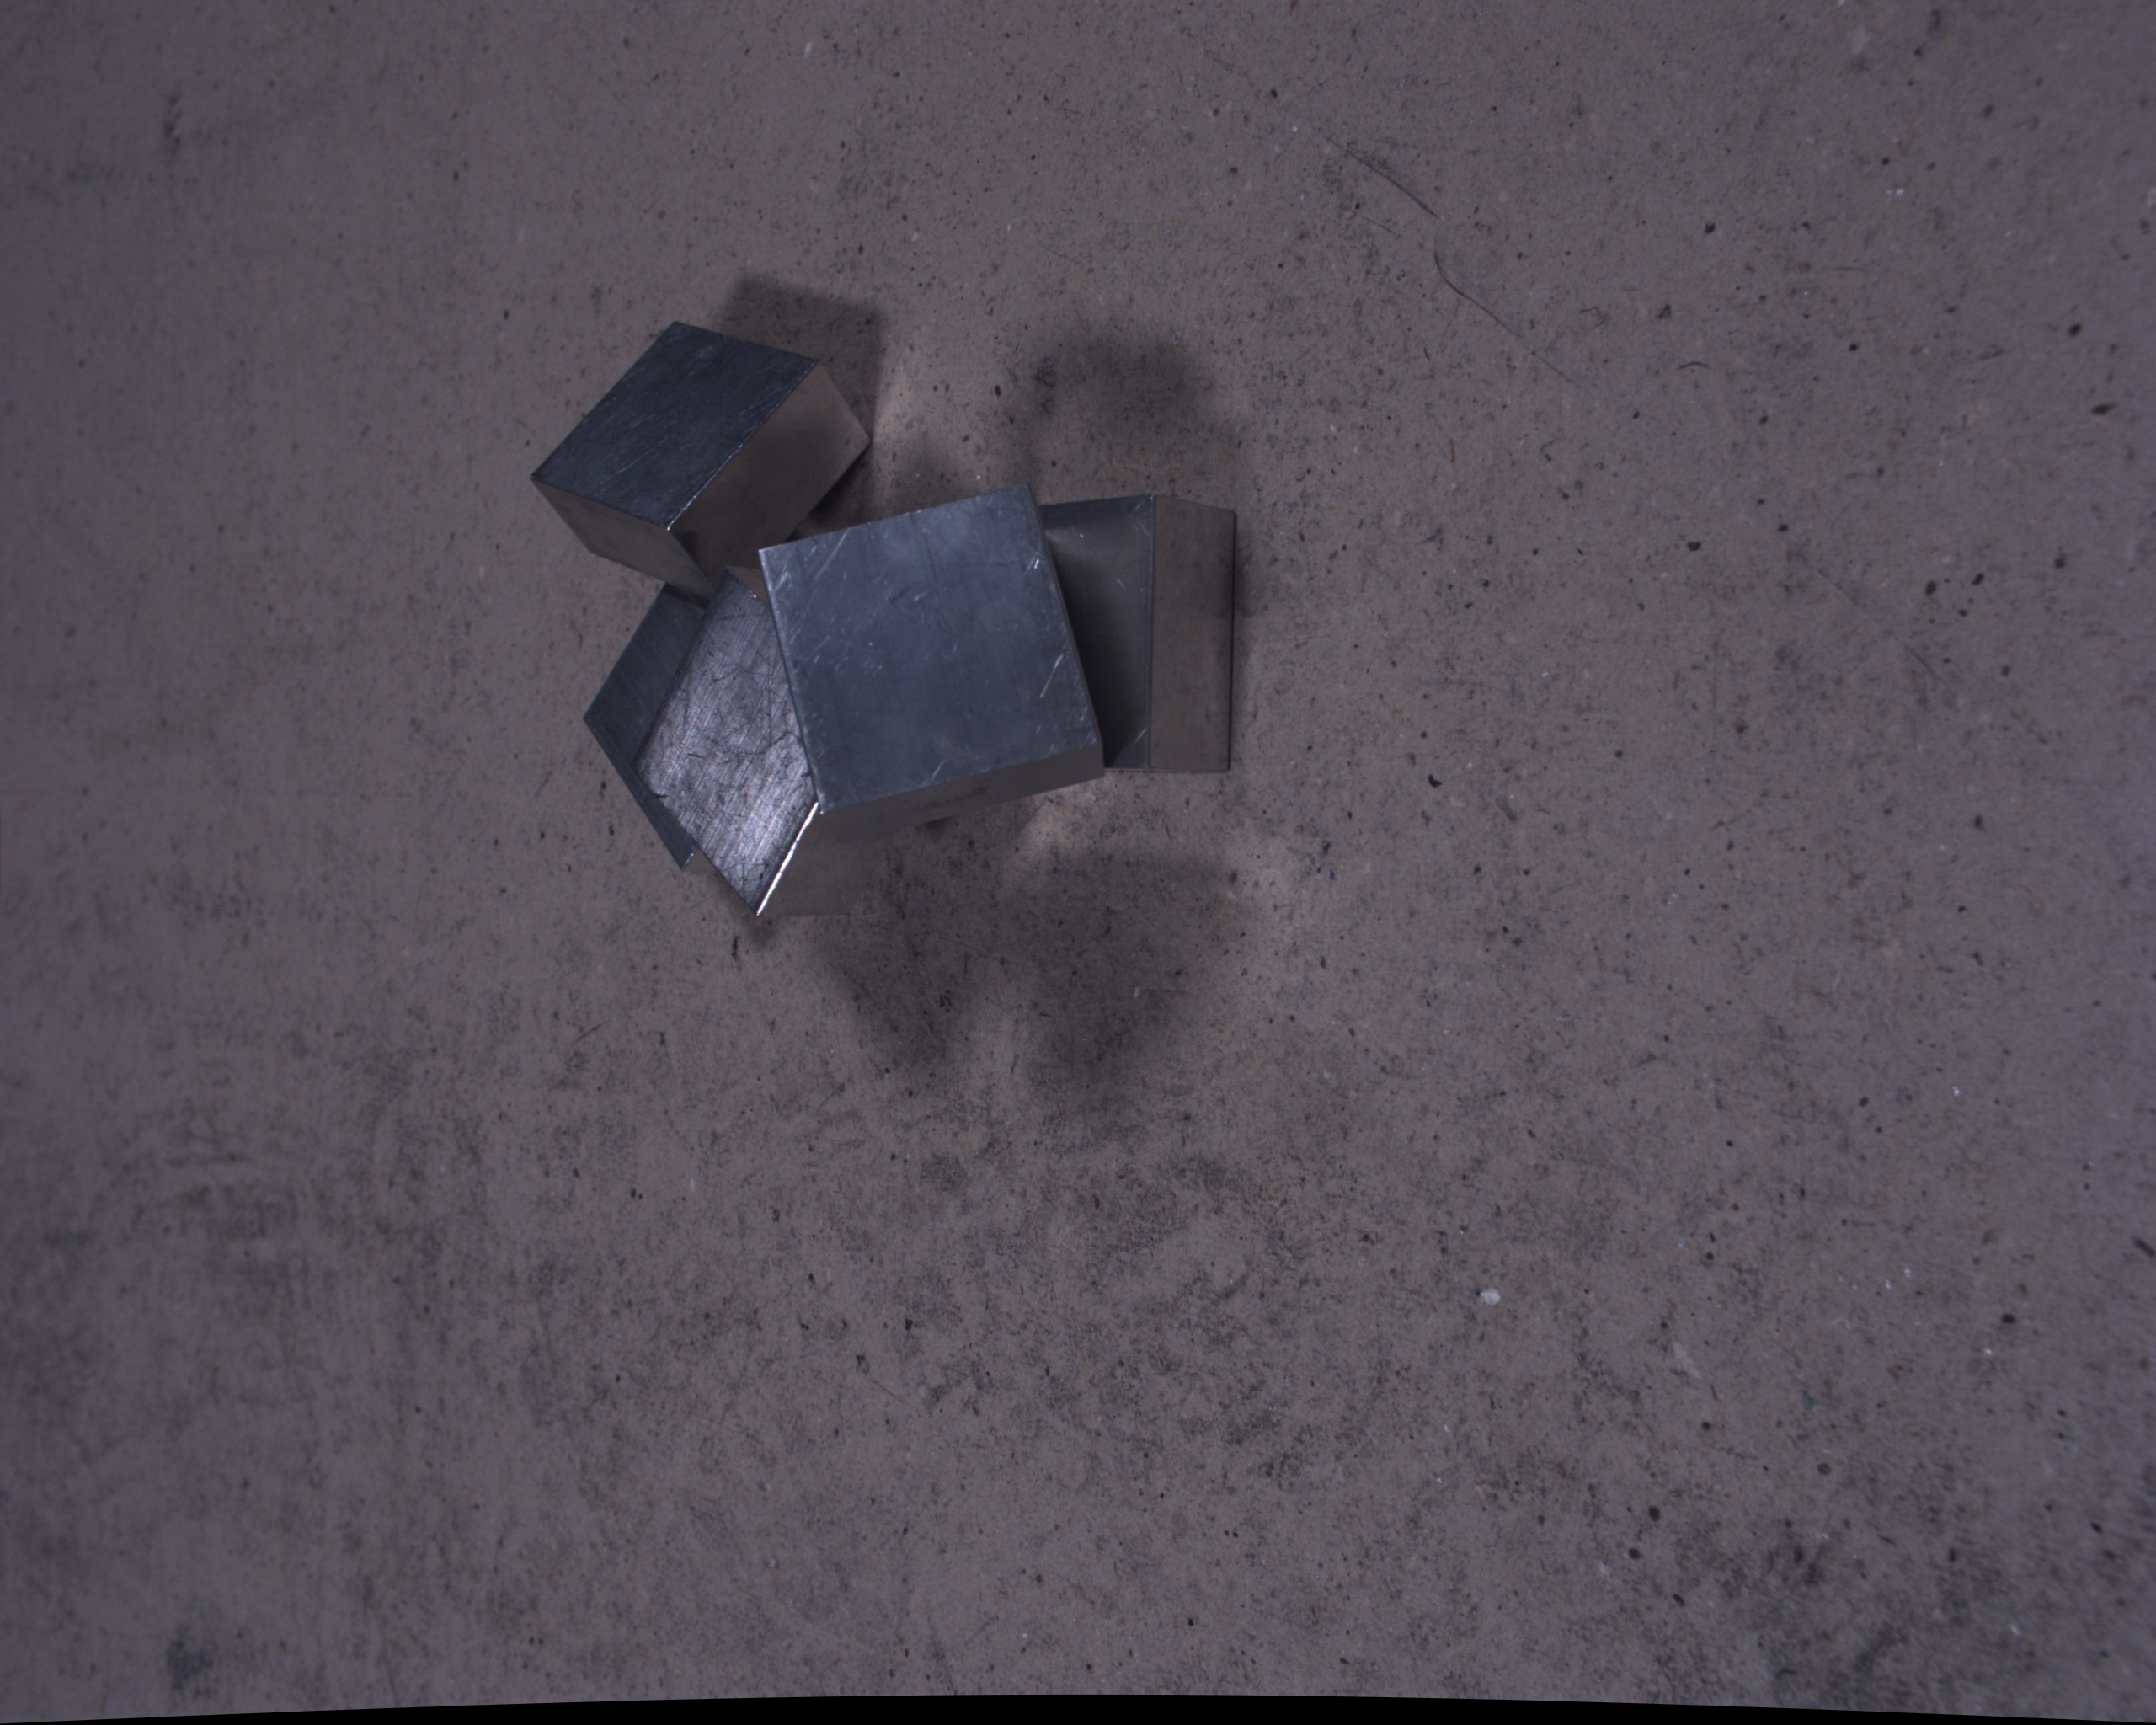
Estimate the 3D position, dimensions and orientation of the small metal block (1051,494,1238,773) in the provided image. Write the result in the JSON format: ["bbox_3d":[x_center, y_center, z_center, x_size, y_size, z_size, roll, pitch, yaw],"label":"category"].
[{"bbox_3d":[0.002,-0.043,0.403,0.050,0.025,0.050,3,92,39],"label":"small metal block"}]

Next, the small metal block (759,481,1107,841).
[{"bbox_3d":[-0.026,-0.036,0.377,0.050,0.025,0.050,-14,78,-2],"label":"small metal block"}]

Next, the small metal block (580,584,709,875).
[{"bbox_3d":[-0.080,-0.032,0.469,0.050,0.025,0.050,-52,60,27],"label":"small metal block"}]

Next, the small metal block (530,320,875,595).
[{"bbox_3d":[-0.082,-0.088,0.457,0.050,0.025,0.050,24,68,37],"label":"small metal block"}]

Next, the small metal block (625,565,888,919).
[{"bbox_3d":[-0.058,-0.024,0.418,0.050,0.025,0.050,45,117,30],"label":"small metal block"}]
